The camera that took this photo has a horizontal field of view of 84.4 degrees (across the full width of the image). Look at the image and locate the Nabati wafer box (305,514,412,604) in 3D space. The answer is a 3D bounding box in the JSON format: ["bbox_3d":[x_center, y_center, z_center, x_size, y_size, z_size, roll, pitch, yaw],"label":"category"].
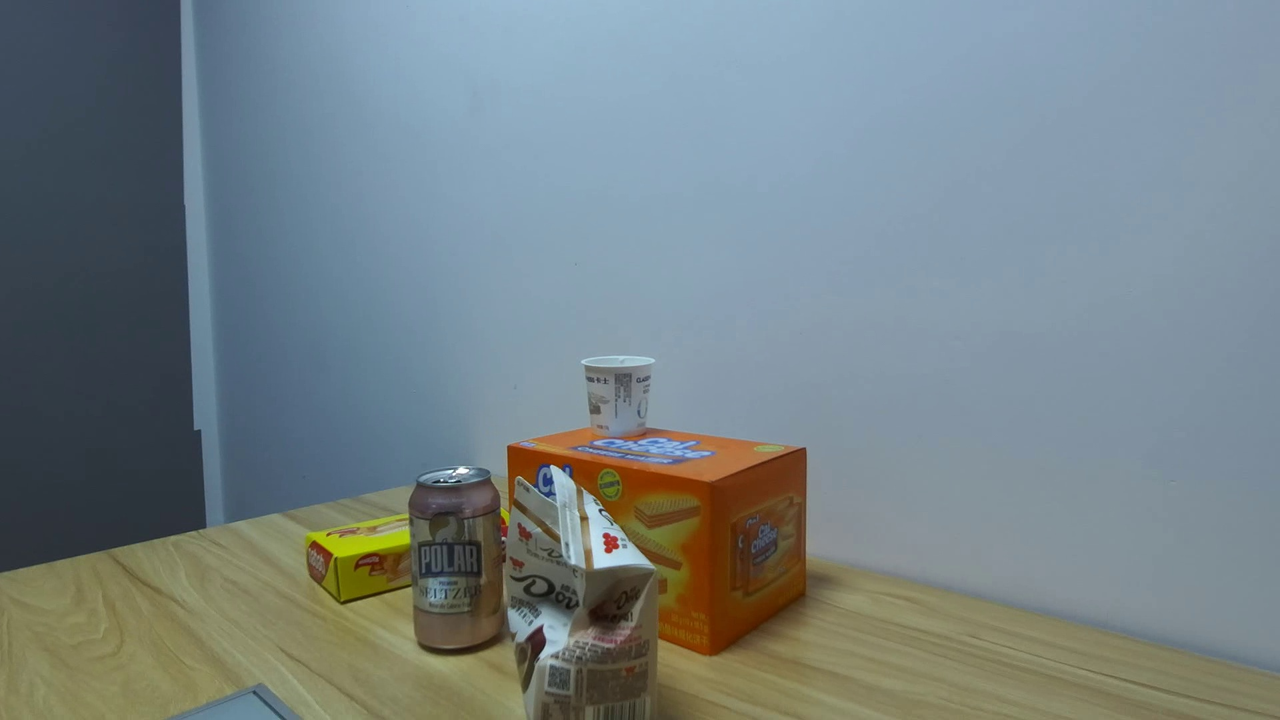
[{"bbox_3d":[-0.201,0.175,0.681,0.204,0.042,0.096,-4,4,-37],"label":"Nabati wafer box"}]

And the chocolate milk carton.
[{"bbox_3d":[-0.037,0.145,0.418,0.077,0.155,0.089,-6,20,-16],"label":"chocolate milk carton"}]

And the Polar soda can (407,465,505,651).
[{"bbox_3d":[-0.137,0.146,0.529,0.067,0.125,0.067,-1,5,0],"label":"Polar soda can"}]

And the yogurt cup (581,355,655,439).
[{"bbox_3d":[-0.019,0.034,0.671,0.072,0.068,0.072,0,8,0],"label":"yogurt cup"}]

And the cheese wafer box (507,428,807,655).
[{"bbox_3d":[0.013,0.137,0.610,0.221,0.129,0.149,3,6,39],"label":"cheese wafer box"}]
